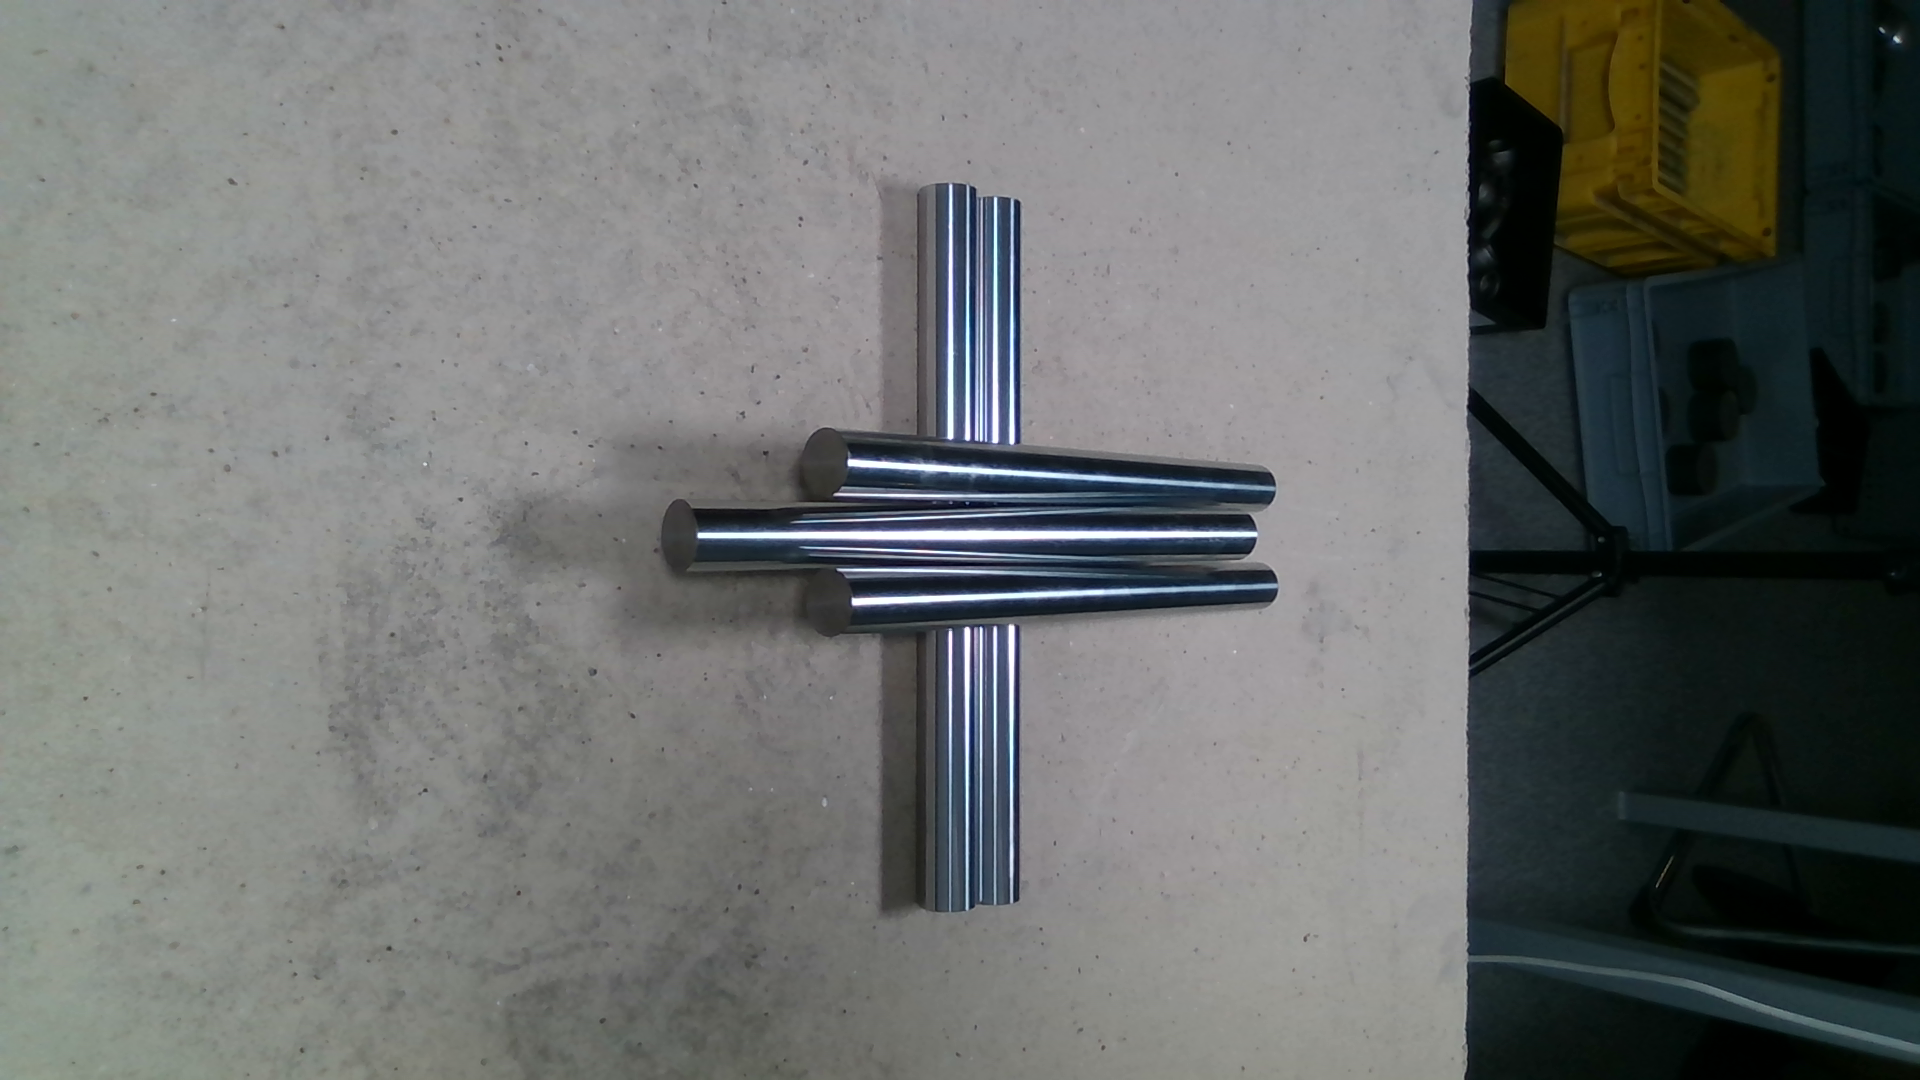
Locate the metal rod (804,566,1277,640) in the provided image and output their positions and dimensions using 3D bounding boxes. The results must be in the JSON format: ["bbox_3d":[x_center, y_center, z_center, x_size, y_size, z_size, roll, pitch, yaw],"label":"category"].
[{"bbox_3d":[0.053,0.024,0.600,0.300,0.025,0.025,0,90,-48],"label":"metal rod"}]

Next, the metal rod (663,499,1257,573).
[{"bbox_3d":[0.019,-0.002,0.566,0.300,0.025,0.025,0,90,-40],"label":"metal rod"}]

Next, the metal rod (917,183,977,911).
[{"bbox_3d":[-0.006,0.003,0.580,0.025,0.025,0.300,0,90,-40],"label":"metal rod"}]

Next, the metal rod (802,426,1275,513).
[{"bbox_3d":[0.052,-0.027,0.600,0.300,0.025,0.025,0,90,-48],"label":"metal rod"}]

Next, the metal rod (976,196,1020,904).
[{"bbox_3d":[0.013,0.004,0.596,0.025,0.025,0.300,0,90,-40],"label":"metal rod"}]
